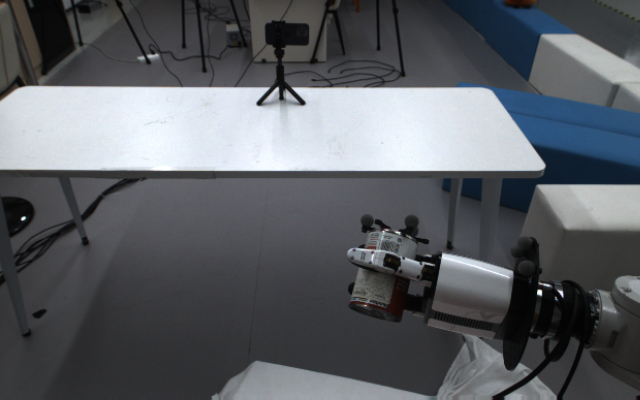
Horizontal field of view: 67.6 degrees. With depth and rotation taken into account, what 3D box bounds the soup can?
[{"bbox_3d":[0.082,0.092,0.611,0.067,0.067,0.101,12,70,14],"label":"soup can"}]
